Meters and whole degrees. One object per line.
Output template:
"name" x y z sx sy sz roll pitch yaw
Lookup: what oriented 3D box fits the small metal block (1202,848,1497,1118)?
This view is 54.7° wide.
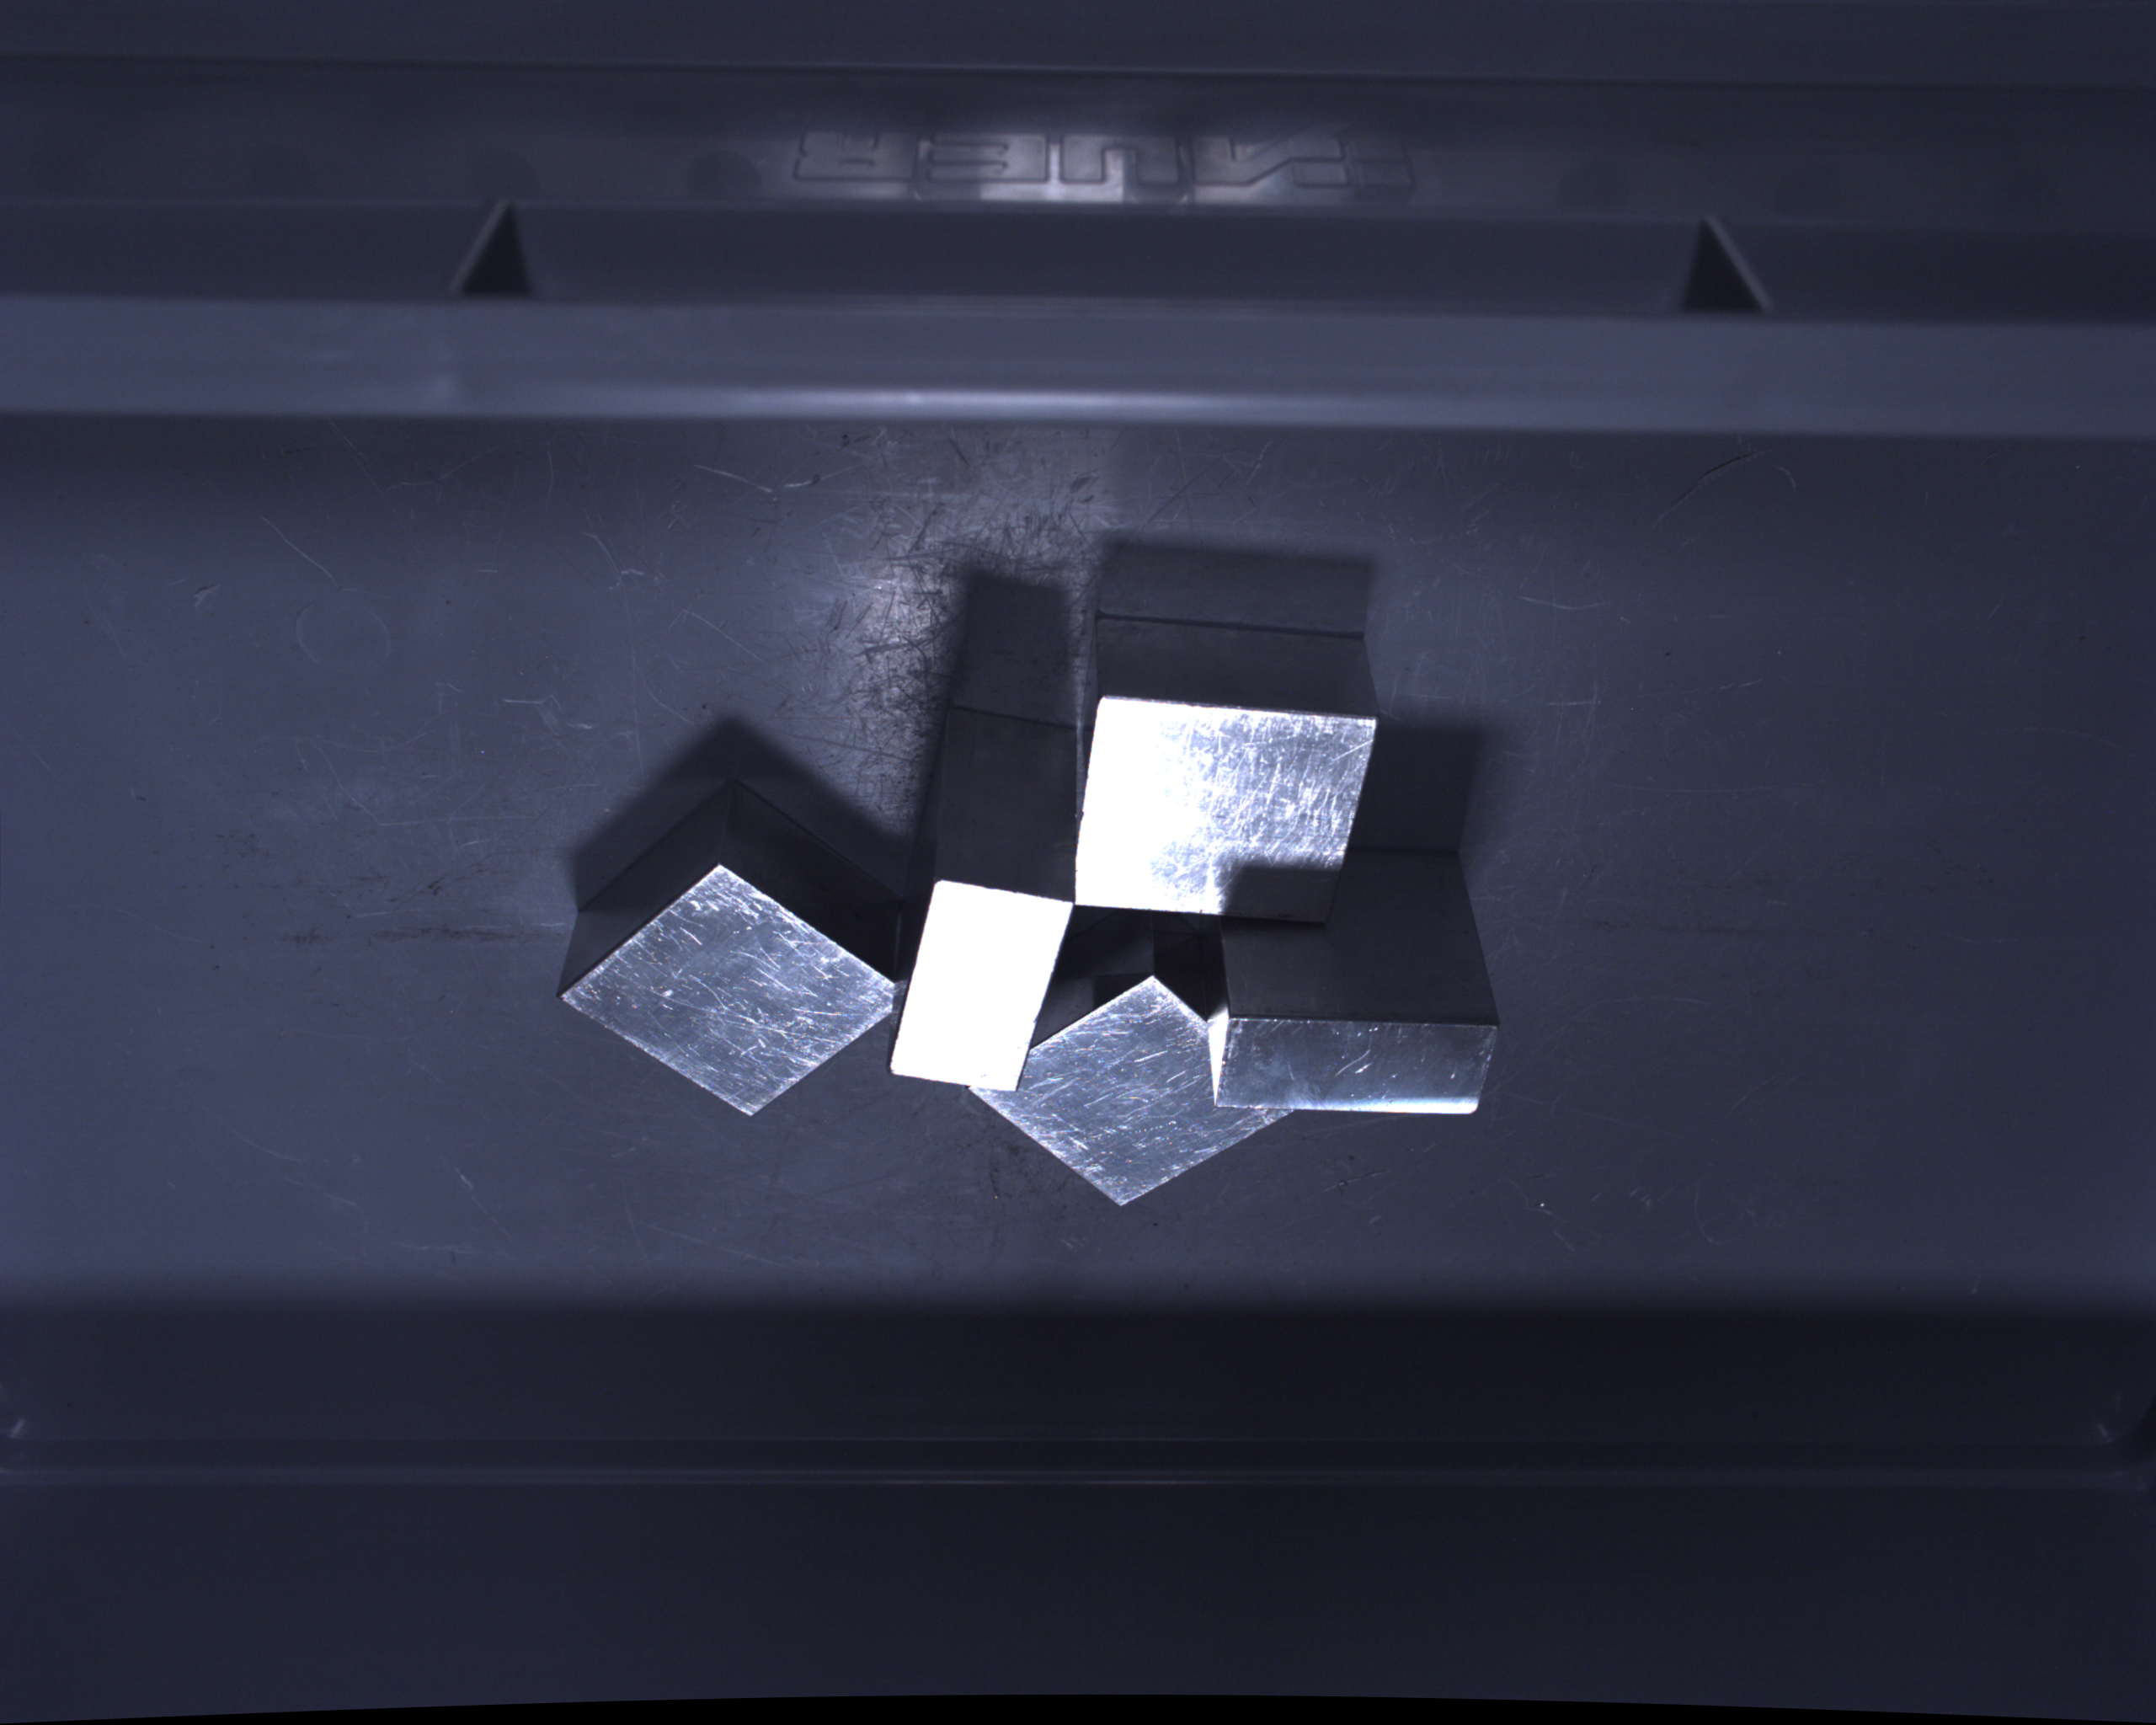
"small metal block" 0.051 0.022 0.410 0.050 0.050 0.025 2 130 -3

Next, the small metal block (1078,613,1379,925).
"small metal block" 0.025 -0.017 0.393 0.050 0.025 0.050 5 130 -5

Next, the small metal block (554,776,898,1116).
"small metal block" -0.068 0.018 0.421 0.050 0.025 0.050 -37 122 27

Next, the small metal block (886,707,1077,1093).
"small metal block" -0.018 0.007 0.395 0.025 0.050 0.050 10 129 -9

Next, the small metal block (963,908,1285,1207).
"small metal block" 0.012 0.040 0.441 0.050 0.025 0.050 -33 123 24
